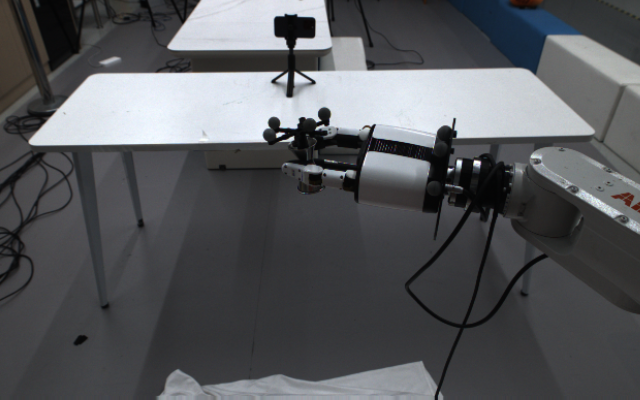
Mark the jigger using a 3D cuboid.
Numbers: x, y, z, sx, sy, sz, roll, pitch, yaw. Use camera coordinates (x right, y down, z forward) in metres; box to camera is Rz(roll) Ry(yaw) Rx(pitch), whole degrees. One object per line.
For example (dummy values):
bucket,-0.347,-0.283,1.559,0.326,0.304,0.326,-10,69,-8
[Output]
jigger,-0.017,-0.048,0.667,0.043,0.071,0.043,-10,32,6
